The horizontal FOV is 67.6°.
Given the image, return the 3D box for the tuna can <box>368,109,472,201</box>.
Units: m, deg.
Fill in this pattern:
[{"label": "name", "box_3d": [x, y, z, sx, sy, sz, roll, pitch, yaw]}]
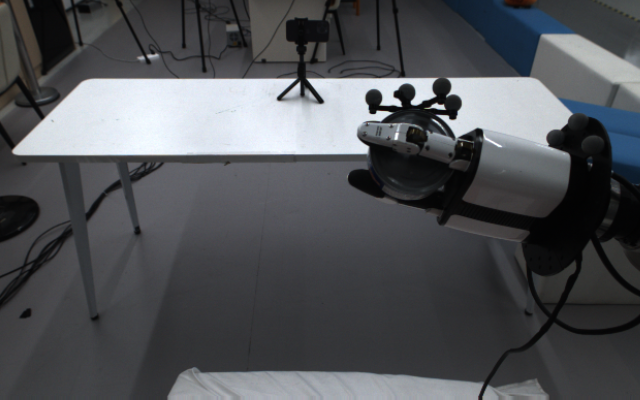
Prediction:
[{"label": "tuna can", "box_3d": [0.091, -0.045, 0.479, 0.085, 0.034, 0.085, 0, 76, 0]}]
